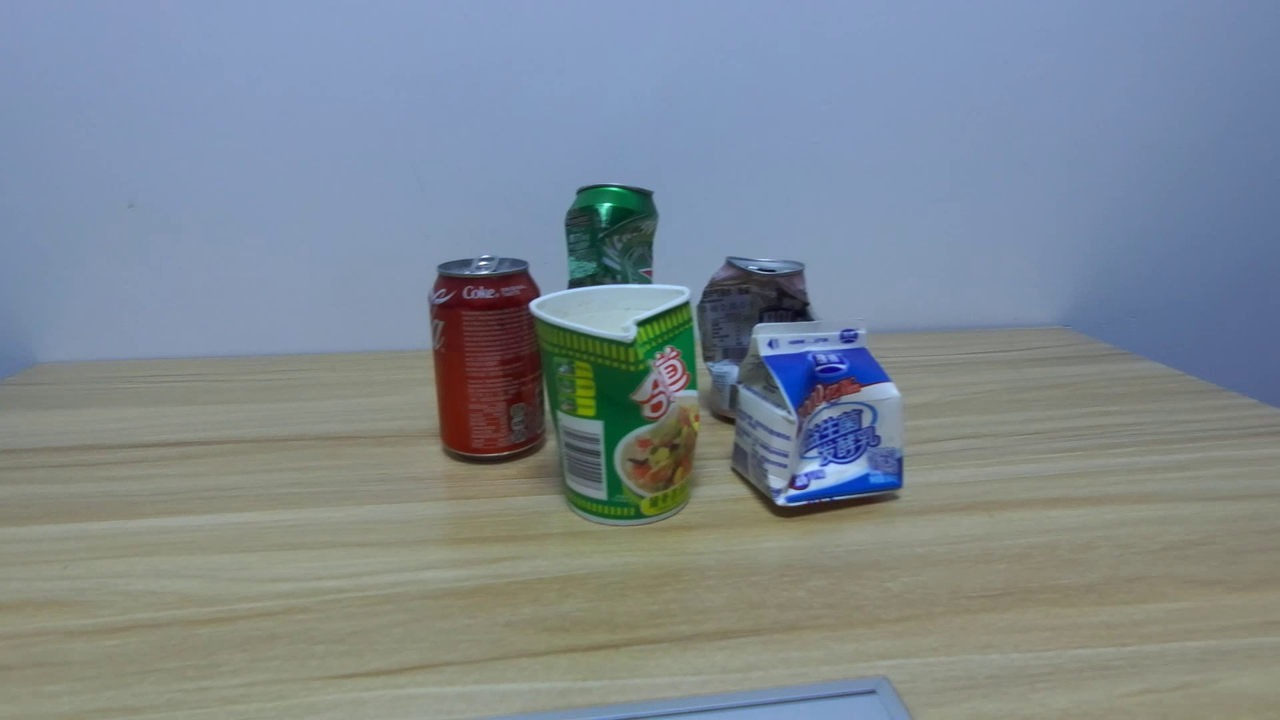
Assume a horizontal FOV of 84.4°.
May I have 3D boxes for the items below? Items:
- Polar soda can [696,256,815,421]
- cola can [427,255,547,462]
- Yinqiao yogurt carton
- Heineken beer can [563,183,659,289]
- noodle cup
[{"bbox_3d":[0.084,-0.013,0.485,0.074,0.114,0.070,-14,26,-34],"label":"Polar soda can"},{"bbox_3d":[-0.094,-0.003,0.442,0.068,0.120,0.068,-1,18,1],"label":"cola can"},{"bbox_3d":[0.095,0.024,0.395,0.077,0.094,0.071,-5,12,-17],"label":"Yinqiao yogurt carton"},{"bbox_3d":[-0.021,-0.042,0.501,0.067,0.159,0.078,1,11,-8],"label":"Heineken beer can"},{"bbox_3d":[-0.008,0.022,0.378,0.086,0.109,0.094,17,25,40],"label":"noodle cup"}]
